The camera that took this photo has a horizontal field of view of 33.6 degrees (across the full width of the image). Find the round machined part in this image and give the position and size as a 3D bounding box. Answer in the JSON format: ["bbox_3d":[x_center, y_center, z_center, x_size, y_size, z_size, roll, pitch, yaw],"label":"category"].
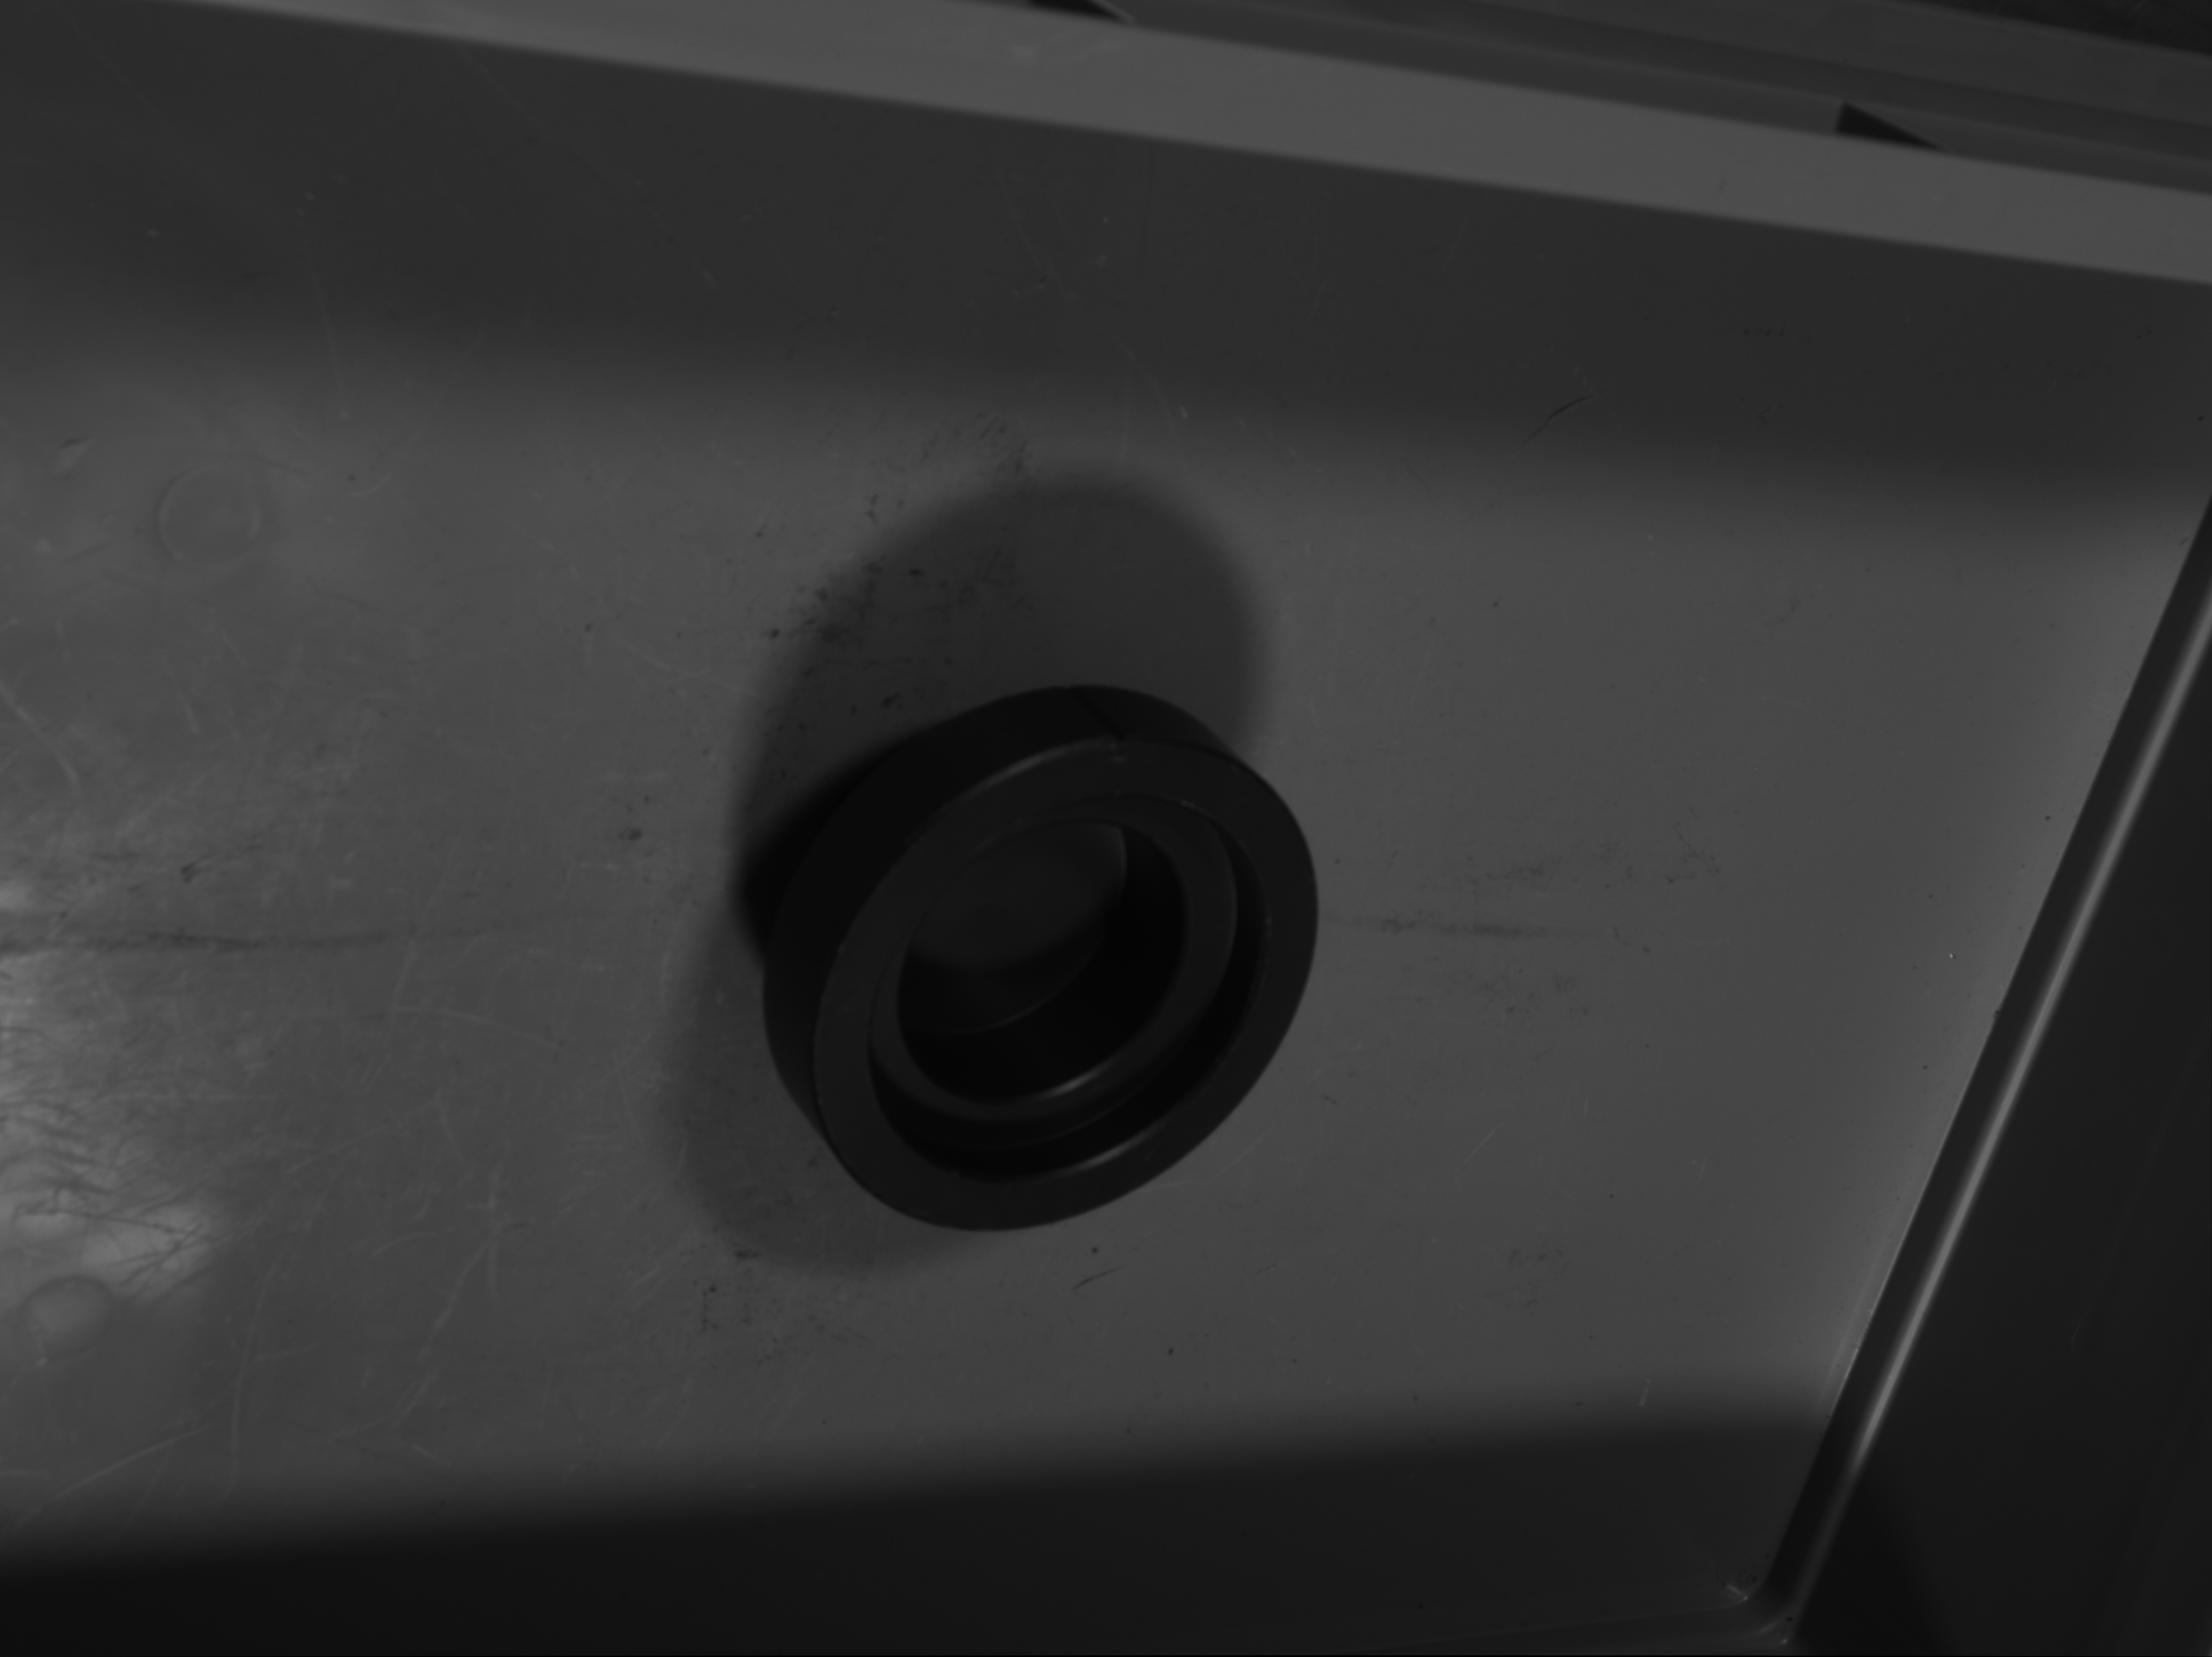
[{"bbox_3d":[-0.009,0.019,0.642,0.098,0.042,0.098,-15,125,-22],"label":"round machined part"}]
